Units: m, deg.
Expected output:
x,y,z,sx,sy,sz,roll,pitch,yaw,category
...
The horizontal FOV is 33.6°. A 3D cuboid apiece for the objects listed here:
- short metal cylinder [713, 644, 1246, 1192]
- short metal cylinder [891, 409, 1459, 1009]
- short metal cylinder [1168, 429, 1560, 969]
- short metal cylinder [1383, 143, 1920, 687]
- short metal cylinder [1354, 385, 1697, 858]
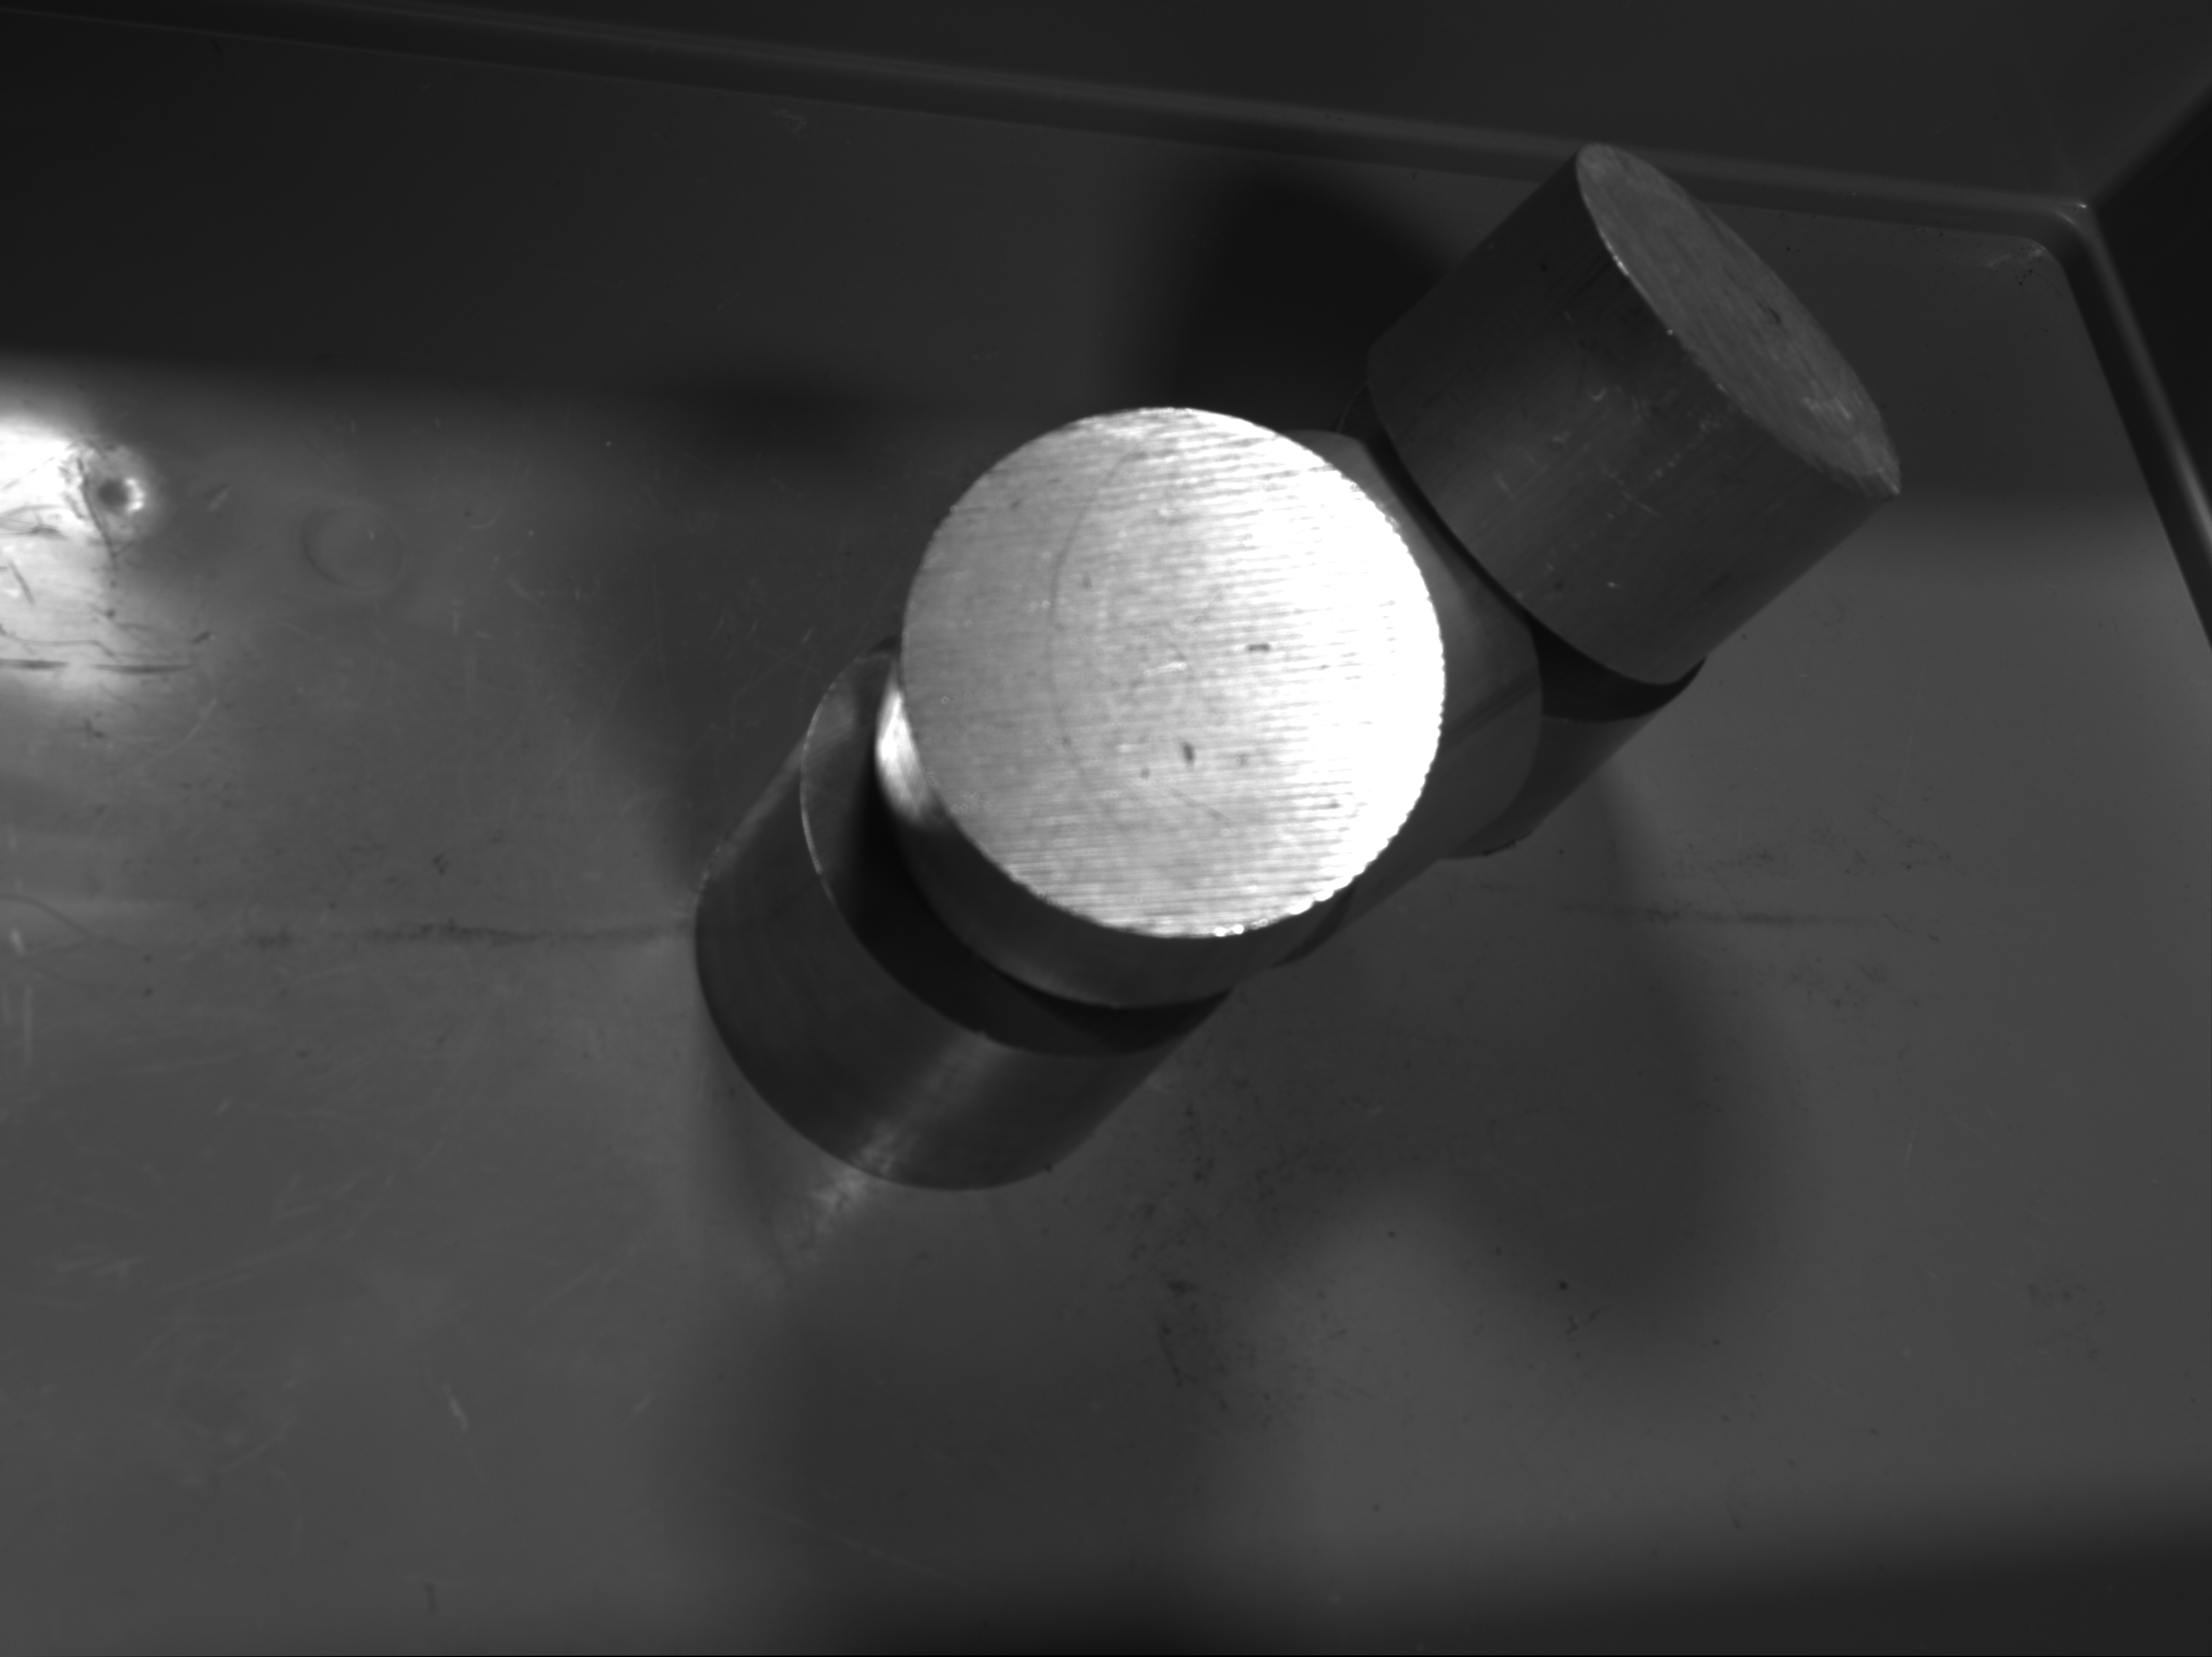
x,y,z,sx,sy,sz,roll,pitch,yaw,category
-0.019,0.013,0.604,0.080,0.050,0.080,14,56,-21,short metal cylinder
0.009,-0.017,0.554,0.080,0.050,0.080,2,75,-7,short metal cylinder
0.031,-0.022,0.633,0.050,0.080,0.080,-33,80,-38,short metal cylinder
0.094,-0.071,0.633,0.080,0.050,0.080,35,29,-23,short metal cylinder
0.069,-0.042,0.685,0.080,0.050,0.080,14,56,-21,short metal cylinder
